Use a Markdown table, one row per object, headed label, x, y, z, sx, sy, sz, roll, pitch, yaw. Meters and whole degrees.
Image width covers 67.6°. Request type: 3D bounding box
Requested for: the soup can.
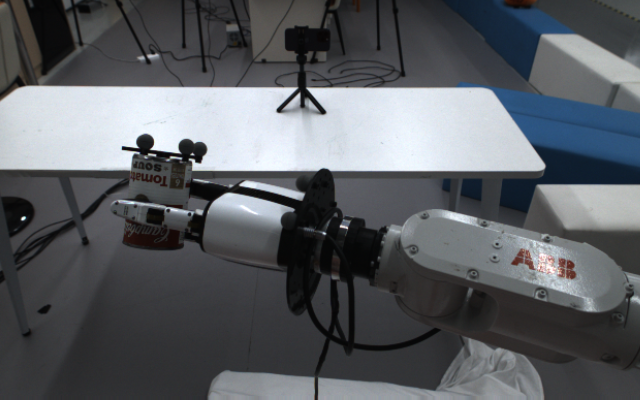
| label | x | y | z | sx | sy | sz | roll | pitch | yaw |
| --- | --- | --- | --- | --- | --- | --- | --- | --- | --- |
| soup can | -0.185 | 0.003 | 0.557 | 0.067 | 0.101 | 0.067 | 7 | 4 | 0 |
